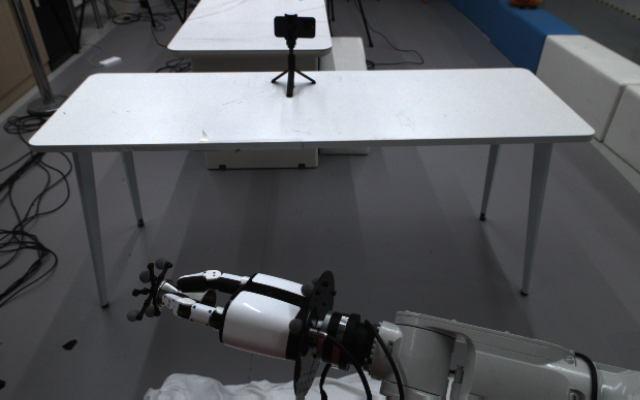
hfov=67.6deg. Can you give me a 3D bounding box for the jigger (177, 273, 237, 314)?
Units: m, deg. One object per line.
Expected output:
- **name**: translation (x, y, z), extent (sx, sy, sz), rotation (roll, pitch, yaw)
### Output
- **jigger**: translation (-0.176, 0.130, 0.654), extent (0.071, 0.043, 0.043), rotation (10, 35, 16)
